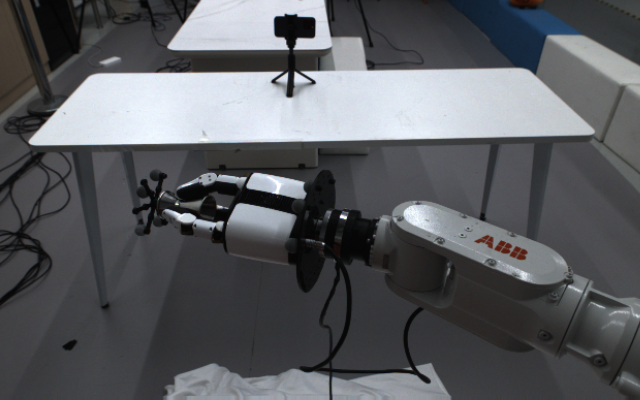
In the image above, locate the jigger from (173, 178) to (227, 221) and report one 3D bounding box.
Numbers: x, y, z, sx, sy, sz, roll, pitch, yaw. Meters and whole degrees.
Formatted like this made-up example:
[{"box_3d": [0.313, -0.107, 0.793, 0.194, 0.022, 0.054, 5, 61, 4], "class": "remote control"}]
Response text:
[{"box_3d": [-0.177, 0.008, 0.663, 0.071, 0.043, 0.043, 7, 35, 16], "class": "jigger"}]
